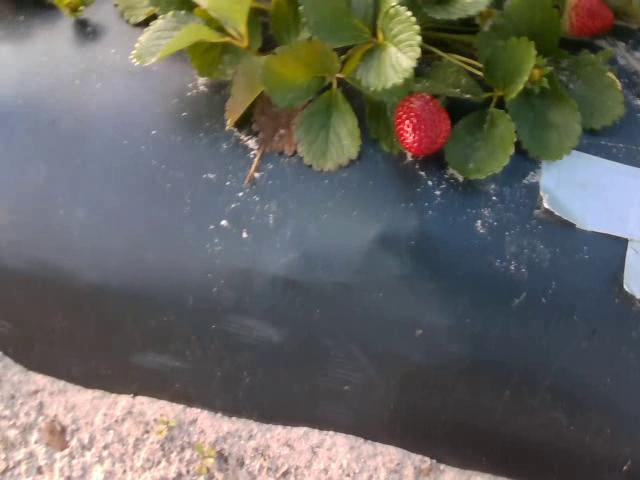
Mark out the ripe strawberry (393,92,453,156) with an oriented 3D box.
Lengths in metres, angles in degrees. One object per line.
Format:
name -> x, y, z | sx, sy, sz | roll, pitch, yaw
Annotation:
ripe strawberry -> 0.029, -0.032, 0.174 | 0.018, 0.023, 0.021 | 2, -39, 23
